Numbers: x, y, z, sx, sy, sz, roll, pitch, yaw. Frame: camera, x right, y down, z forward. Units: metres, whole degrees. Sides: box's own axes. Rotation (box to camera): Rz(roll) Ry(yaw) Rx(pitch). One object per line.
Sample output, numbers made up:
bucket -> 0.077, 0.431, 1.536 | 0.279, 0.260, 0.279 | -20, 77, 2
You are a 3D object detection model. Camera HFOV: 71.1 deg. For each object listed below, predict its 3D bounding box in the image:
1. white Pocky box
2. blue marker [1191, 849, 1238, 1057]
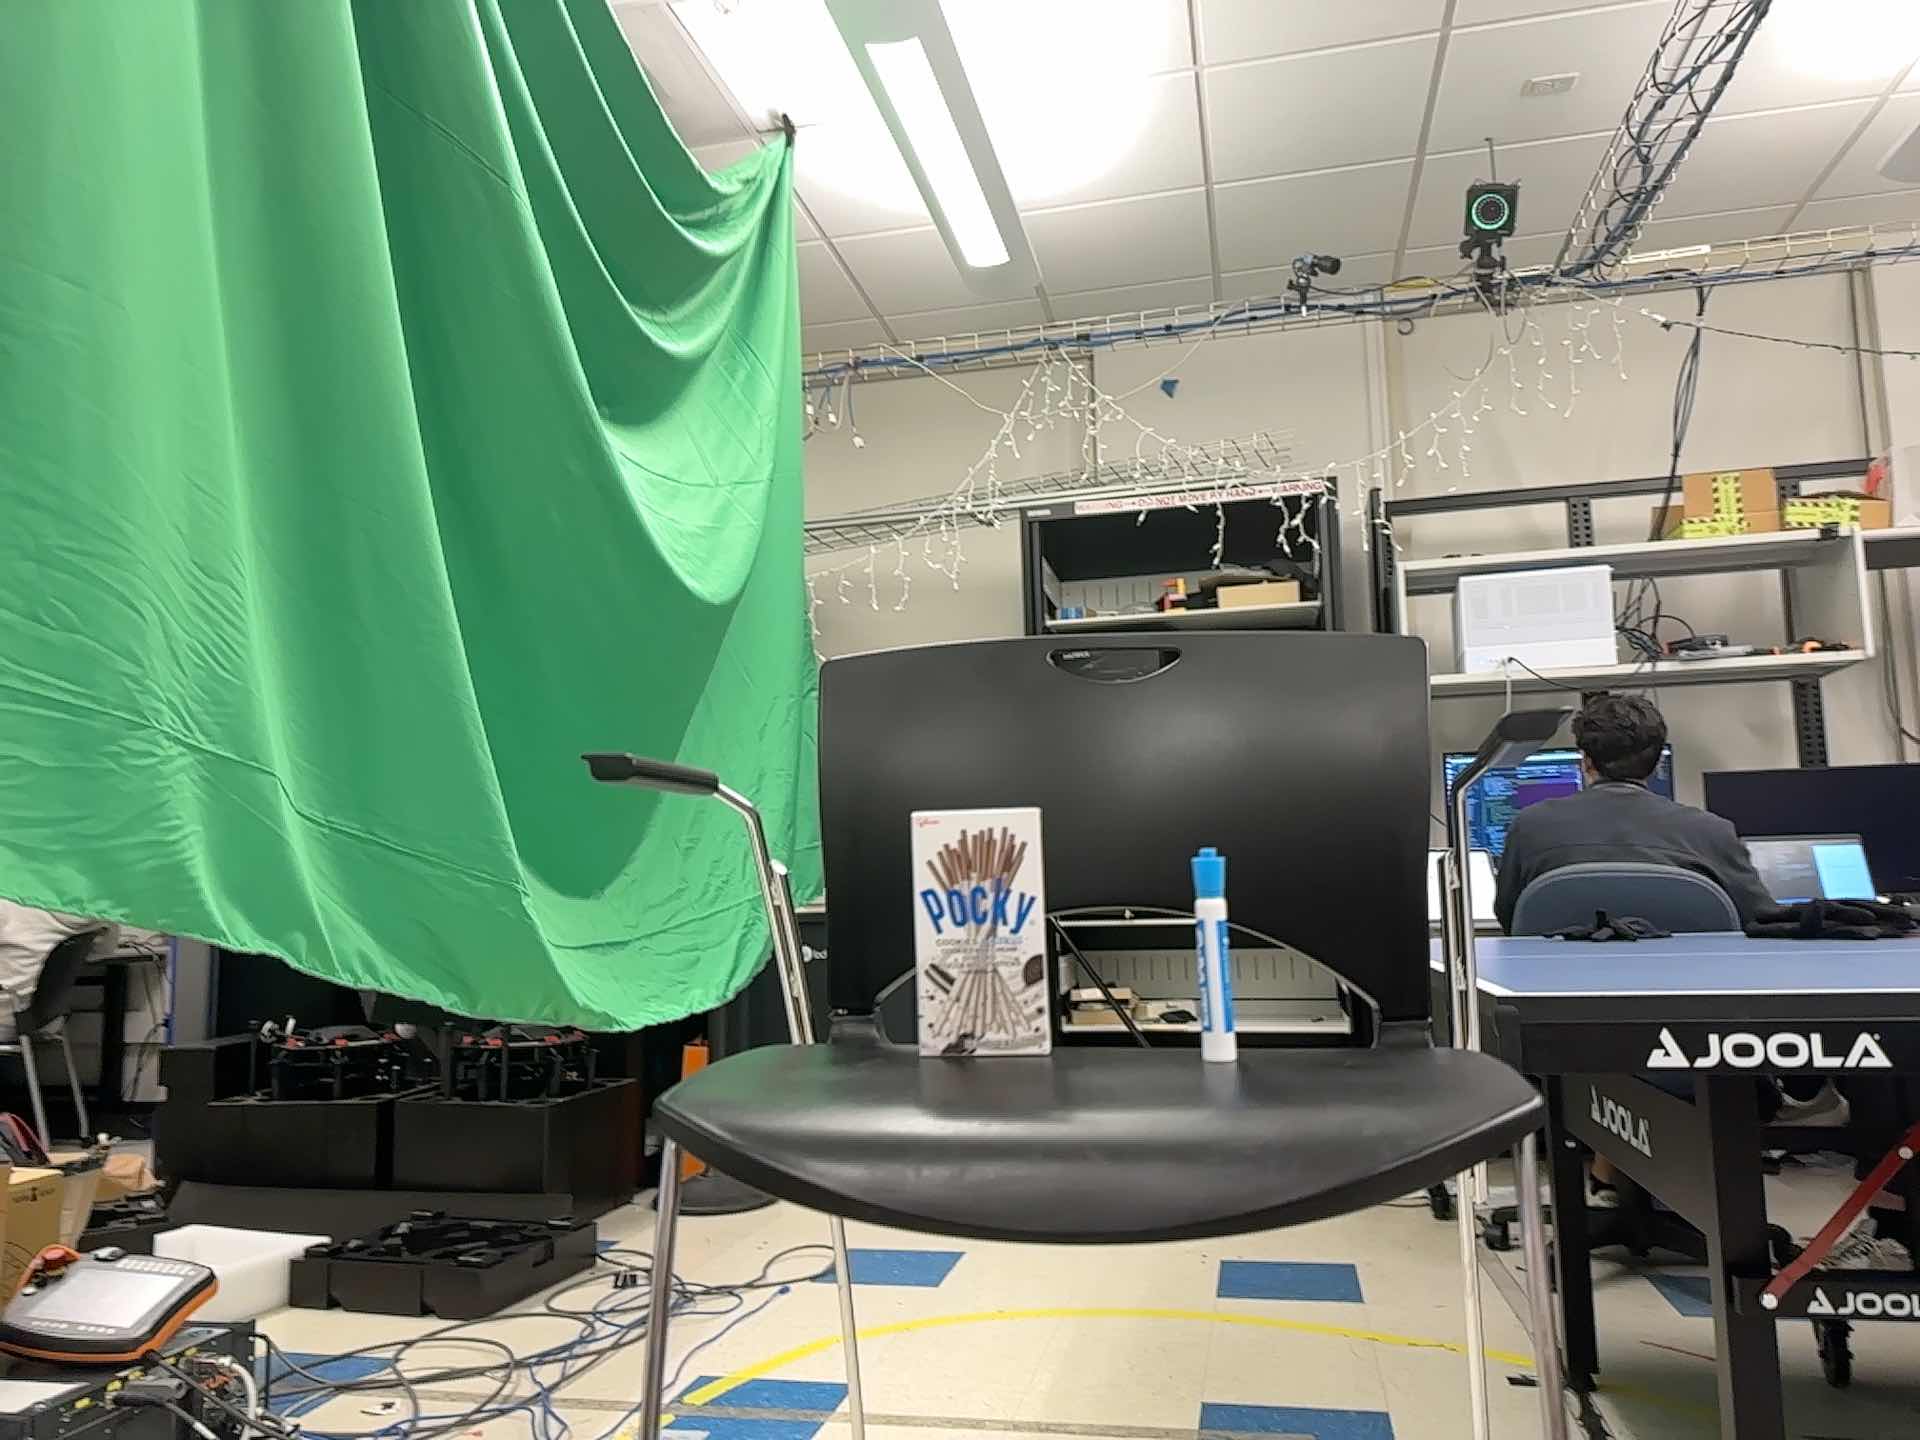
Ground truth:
white Pocky box -> 0.012, 0.131, 0.844 | 0.084, 0.154, 0.028 | -2, -3, 7
blue marker -> 0.151, 0.137, 0.799 | 0.020, 0.121, 0.020 | -3, -3, 0
